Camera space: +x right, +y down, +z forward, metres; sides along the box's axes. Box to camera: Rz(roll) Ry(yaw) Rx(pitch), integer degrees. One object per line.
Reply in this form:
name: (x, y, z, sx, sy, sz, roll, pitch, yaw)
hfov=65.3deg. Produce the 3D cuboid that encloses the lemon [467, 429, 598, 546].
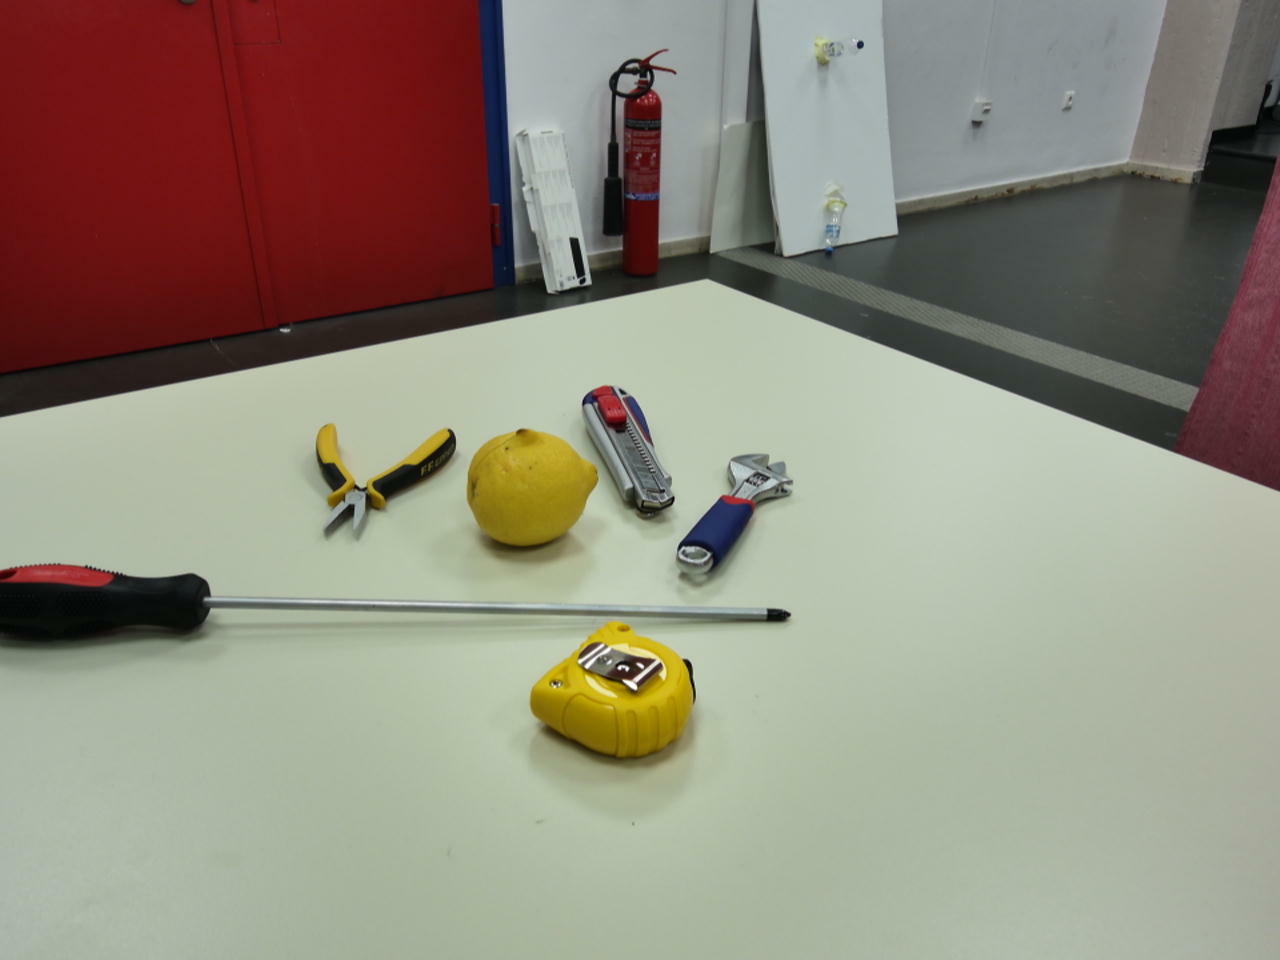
lemon: (-0.066, 0.002, 0.582, 0.071, 0.071, 0.070, 9, 27, 17)
